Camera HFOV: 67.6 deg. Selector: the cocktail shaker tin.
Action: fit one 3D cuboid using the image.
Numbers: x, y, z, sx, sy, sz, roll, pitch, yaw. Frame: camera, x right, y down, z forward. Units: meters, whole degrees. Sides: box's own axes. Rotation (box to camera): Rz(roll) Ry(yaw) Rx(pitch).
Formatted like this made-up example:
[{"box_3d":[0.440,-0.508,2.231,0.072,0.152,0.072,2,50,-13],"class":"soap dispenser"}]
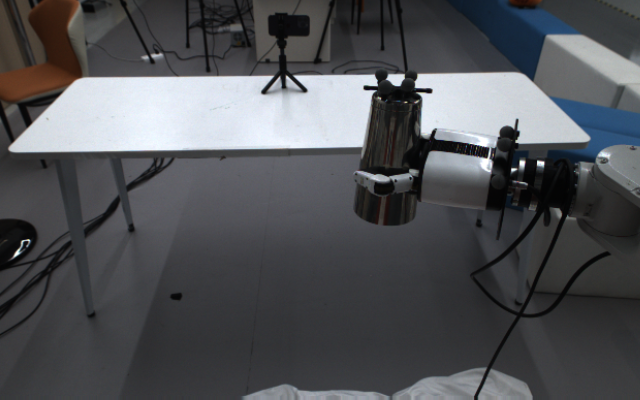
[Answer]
[{"box_3d":[0.099,-0.062,0.670,0.093,0.170,0.093,2,28,-1],"class":"cocktail shaker tin"}]
